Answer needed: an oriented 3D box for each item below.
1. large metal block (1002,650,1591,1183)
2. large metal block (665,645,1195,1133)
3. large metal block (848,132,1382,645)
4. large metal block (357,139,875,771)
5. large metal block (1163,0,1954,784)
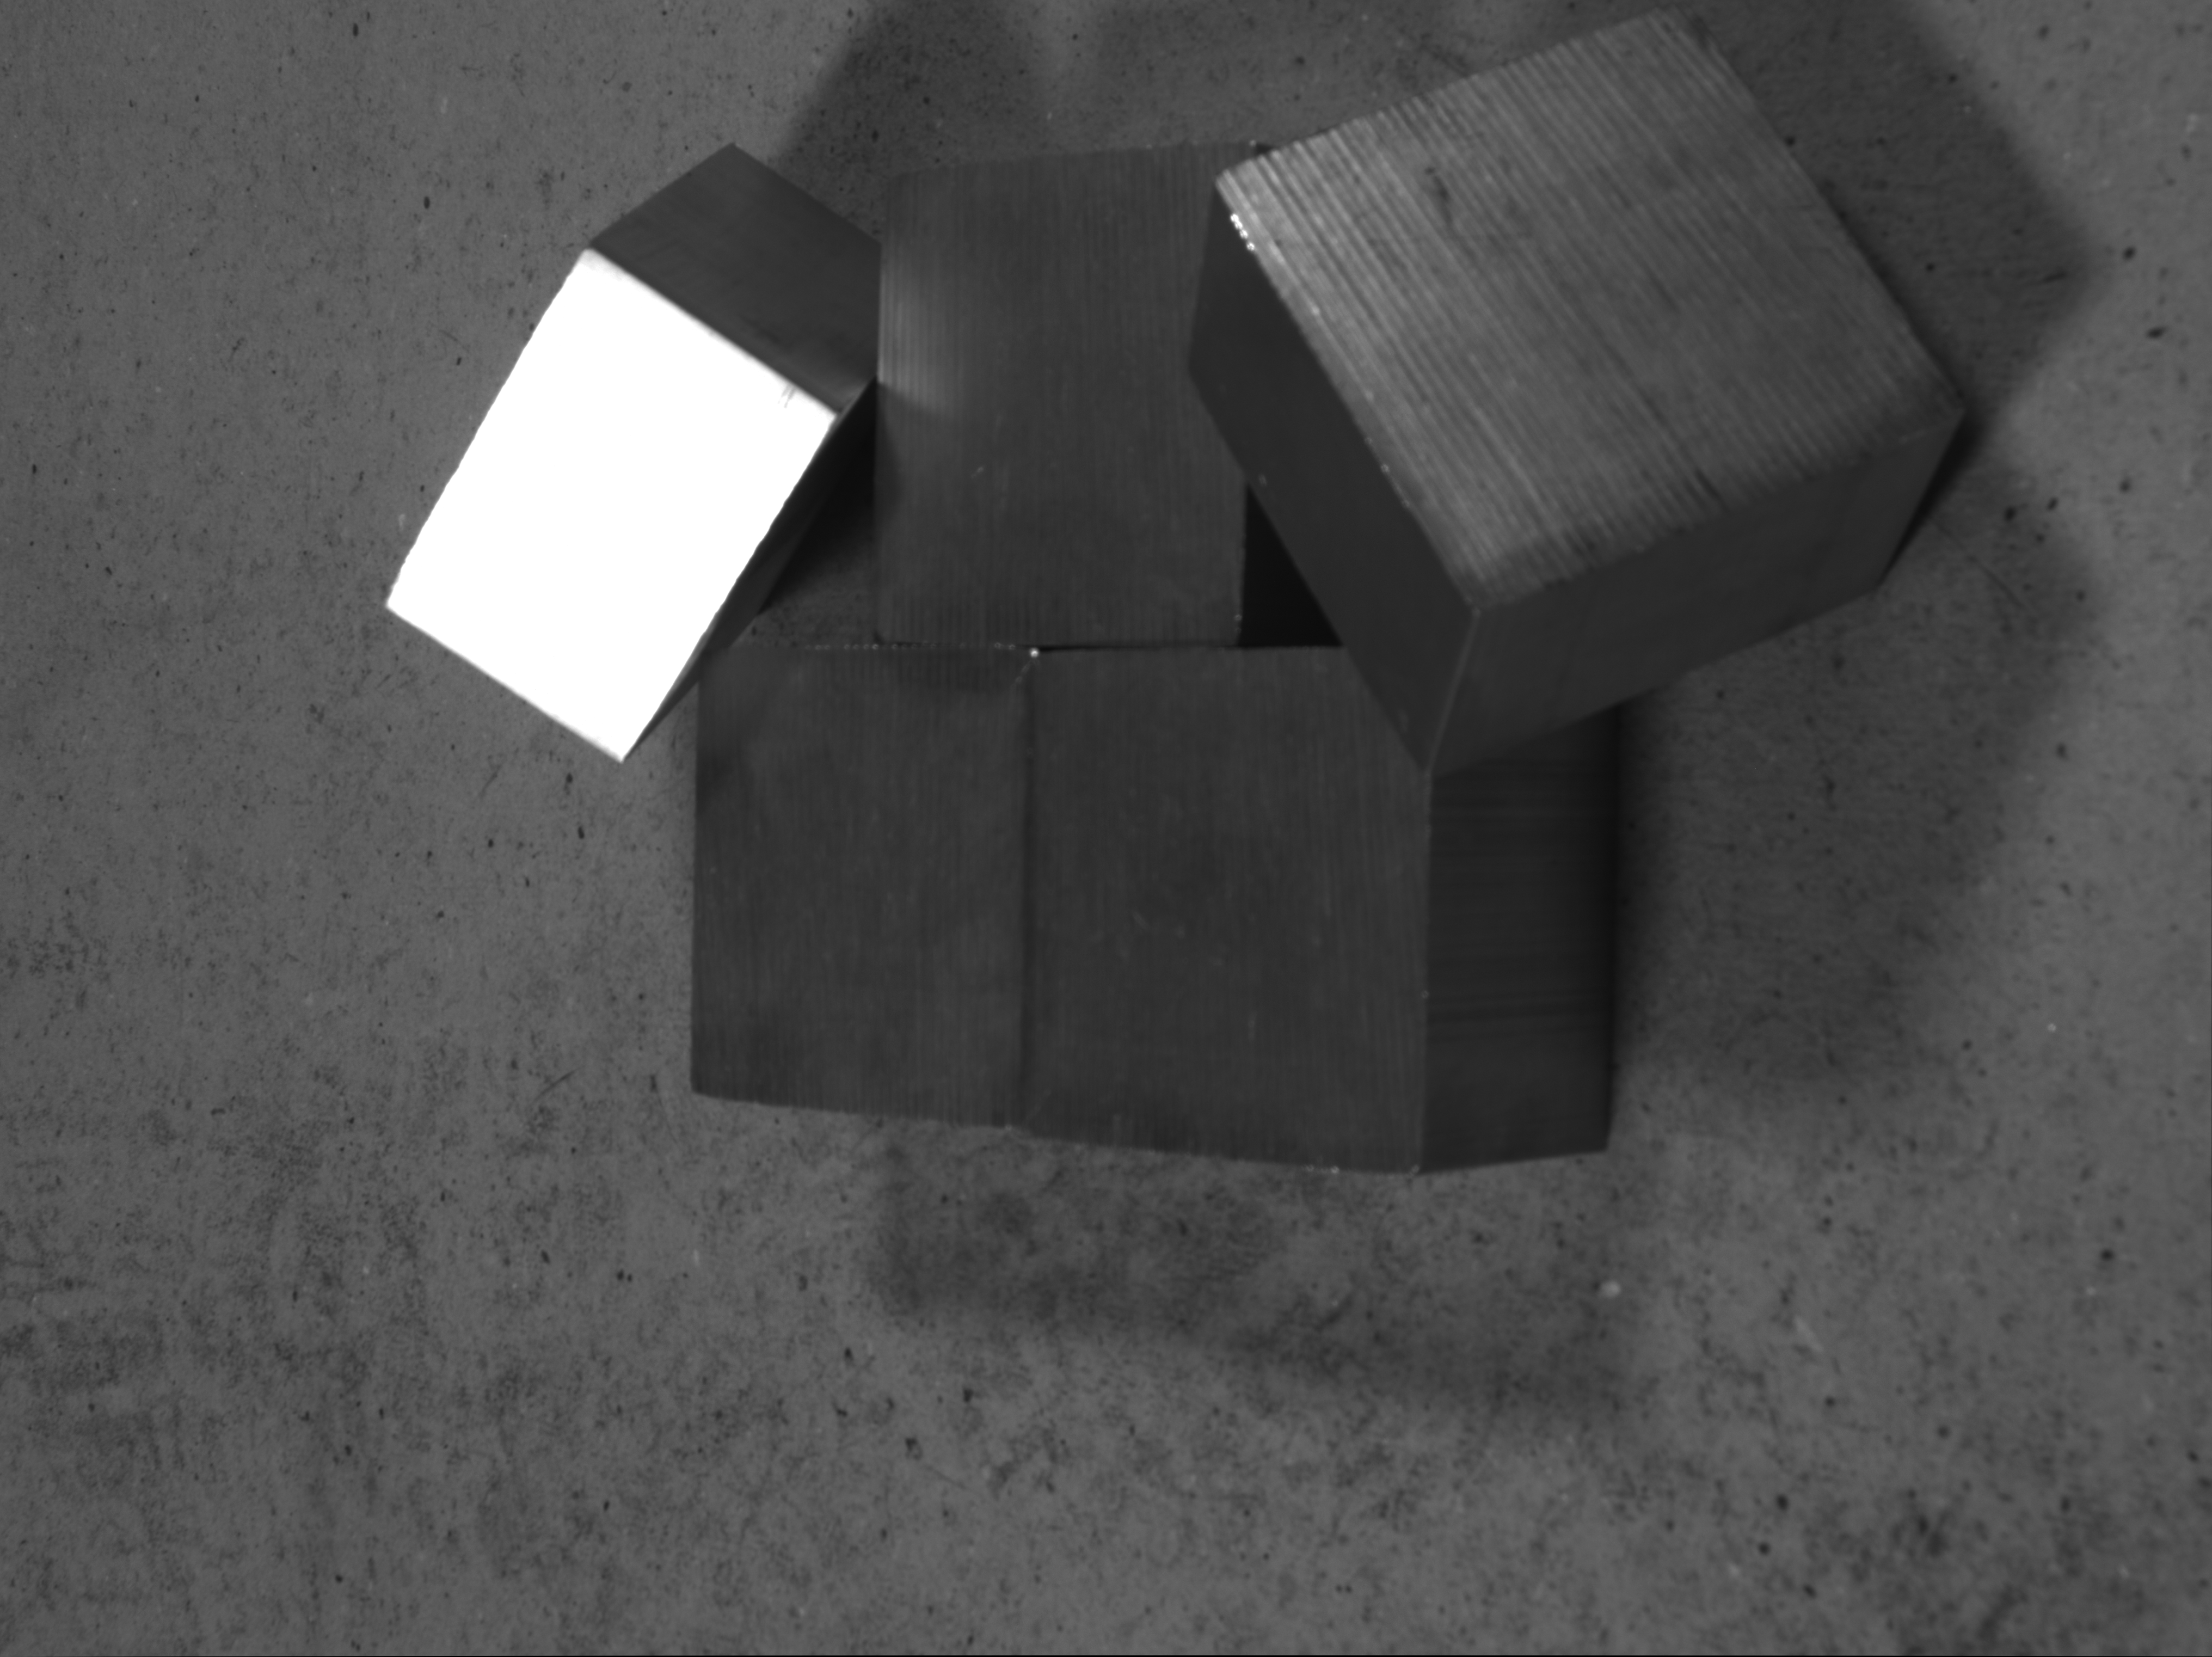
[{"bbox_3d":[0.030,0.012,0.593,0.080,0.050,0.080,2,91,39],"label":"large metal block"},{"bbox_3d":[-0.031,0.009,0.645,0.080,0.050,0.080,2,91,39],"label":"large metal block"},{"bbox_3d":[0.004,-0.070,0.617,0.080,0.050,0.080,3,92,39],"label":"large metal block"},{"bbox_3d":[-0.081,-0.069,0.658,0.050,0.080,0.080,34,115,-3],"label":"large metal block"},{"bbox_3d":[0.064,-0.065,0.541,0.080,0.080,0.050,62,164,22],"label":"large metal block"}]
